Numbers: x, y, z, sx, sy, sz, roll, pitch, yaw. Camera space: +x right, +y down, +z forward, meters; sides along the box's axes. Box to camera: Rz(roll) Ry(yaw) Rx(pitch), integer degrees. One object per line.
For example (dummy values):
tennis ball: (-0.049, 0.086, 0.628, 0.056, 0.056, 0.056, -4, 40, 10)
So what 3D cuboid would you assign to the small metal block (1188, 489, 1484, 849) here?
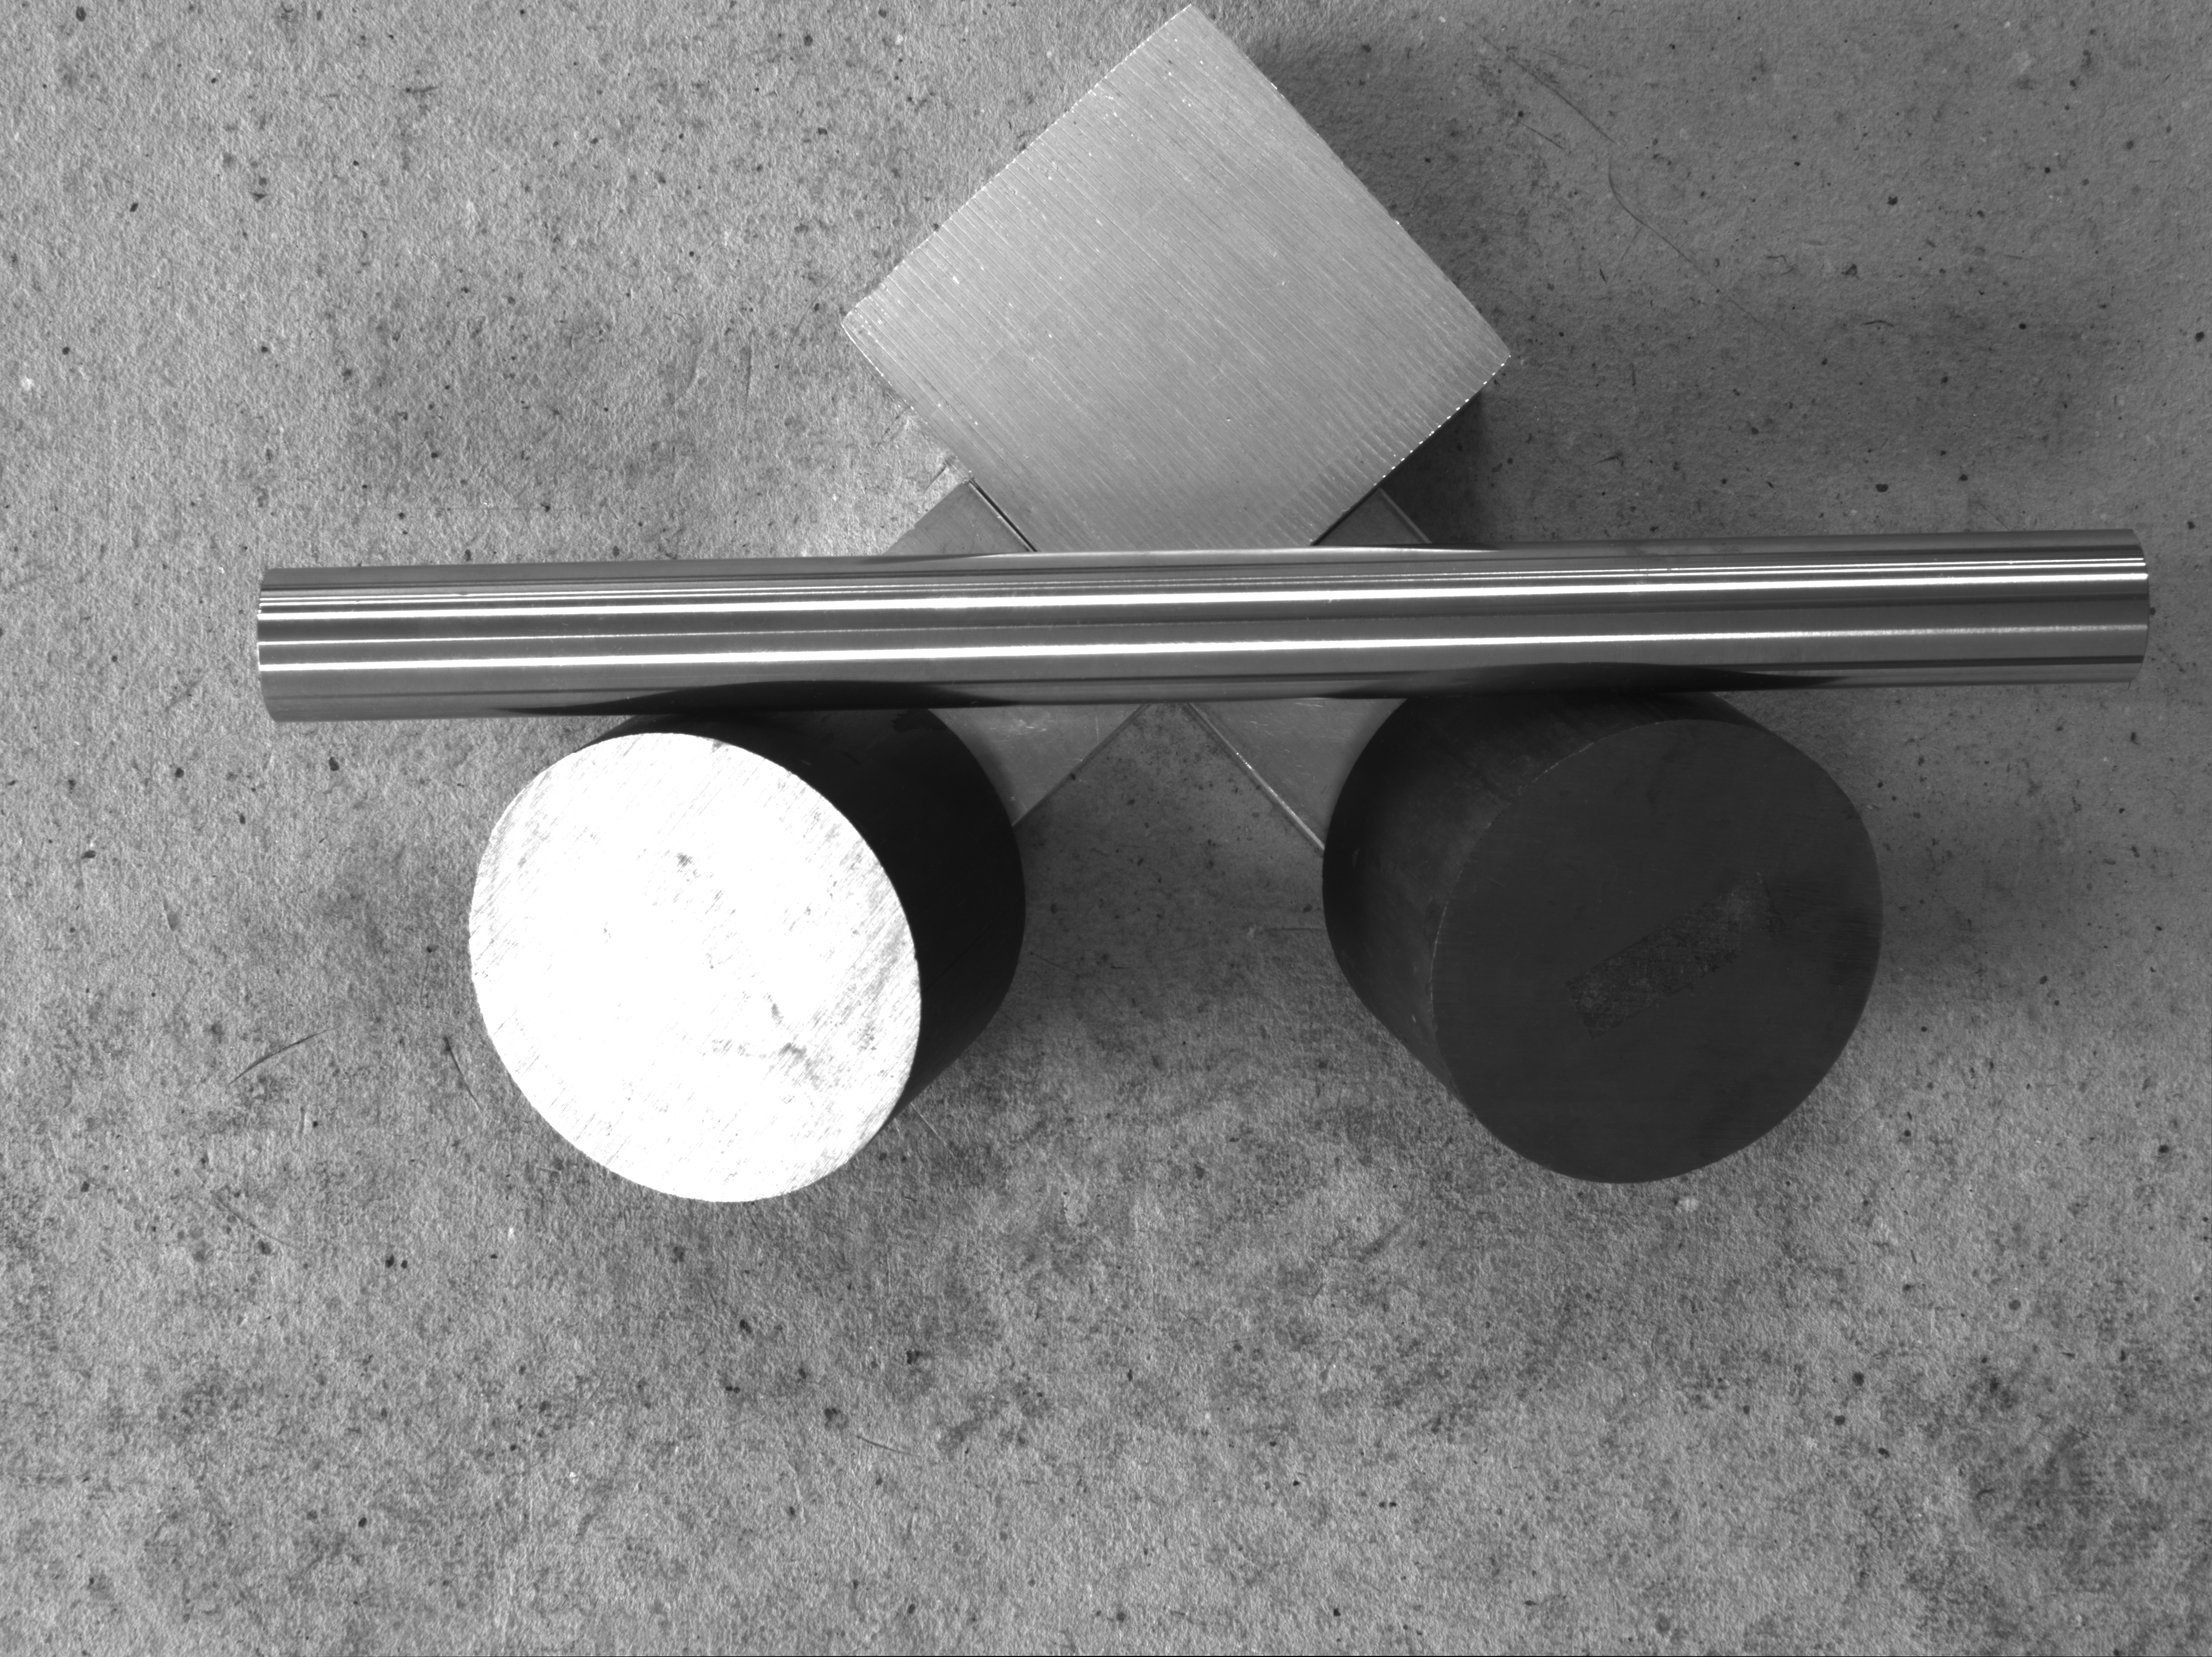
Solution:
small metal block: (0.046, -0.024, 0.646, 0.050, 0.025, 0.050, -43, 90, 0)

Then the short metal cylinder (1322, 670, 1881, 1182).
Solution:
short metal cylinder: (0.083, 0.013, 0.620, 0.080, 0.050, 0.080, -6, 109, -16)

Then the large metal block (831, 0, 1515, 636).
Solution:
large metal block: (0.011, -0.082, 0.632, 0.080, 0.050, 0.080, -42, 90, 0)

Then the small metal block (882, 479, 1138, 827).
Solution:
small metal block: (-0.026, -0.026, 0.646, 0.050, 0.025, 0.050, -43, 90, -1)

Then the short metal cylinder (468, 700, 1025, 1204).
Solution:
short metal cylinder: (-0.060, 0.017, 0.619, 0.080, 0.050, 0.080, 6, 108, 17)

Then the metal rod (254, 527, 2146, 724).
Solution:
metal rod: (0.015, -0.033, 0.594, 0.300, 0.025, 0.025, -1, 90, 0)
